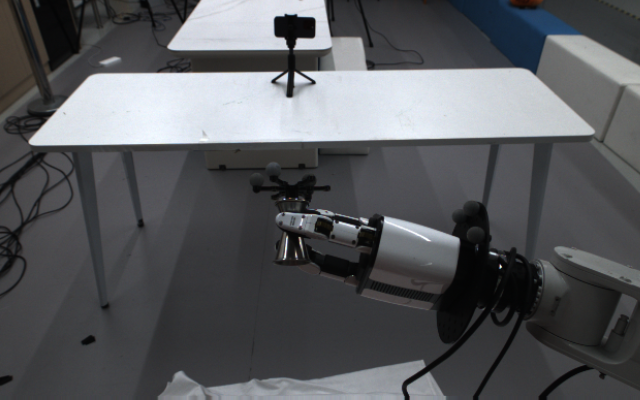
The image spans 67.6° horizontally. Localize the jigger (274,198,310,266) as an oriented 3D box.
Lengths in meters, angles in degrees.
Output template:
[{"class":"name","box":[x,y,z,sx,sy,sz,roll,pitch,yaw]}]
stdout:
[{"class":"jigger","box":[-0.029,0.035,0.536,0.043,0.043,0.071,0,75,-3]}]
